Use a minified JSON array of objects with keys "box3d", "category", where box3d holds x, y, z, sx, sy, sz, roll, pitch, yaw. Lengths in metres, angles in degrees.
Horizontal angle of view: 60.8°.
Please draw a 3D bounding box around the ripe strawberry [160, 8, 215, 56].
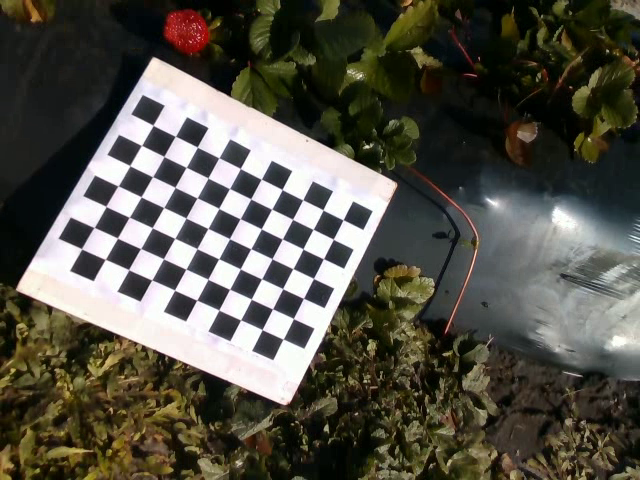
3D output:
[{"box3d":[-0.149,-0.224,0.584,0.058,0.066,0.061,-22,-1,16],"category":"ripe strawberry"}]
